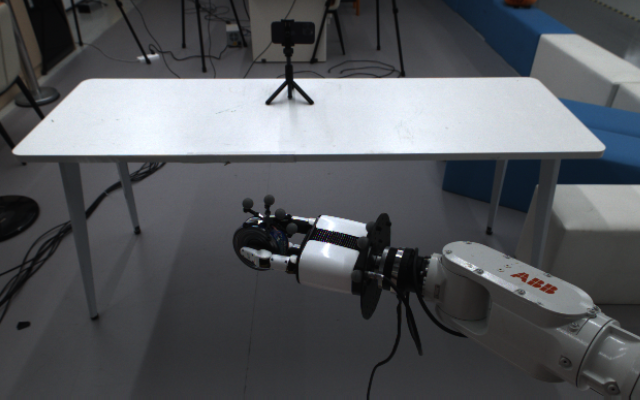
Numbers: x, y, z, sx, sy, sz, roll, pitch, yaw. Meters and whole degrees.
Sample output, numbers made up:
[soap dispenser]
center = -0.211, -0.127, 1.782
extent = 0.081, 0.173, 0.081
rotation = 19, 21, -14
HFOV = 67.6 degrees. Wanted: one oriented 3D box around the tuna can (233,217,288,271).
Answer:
[tuna can]
center = -0.093, 0.077, 0.768
extent = 0.085, 0.085, 0.034
rotation = 15, 30, 18
